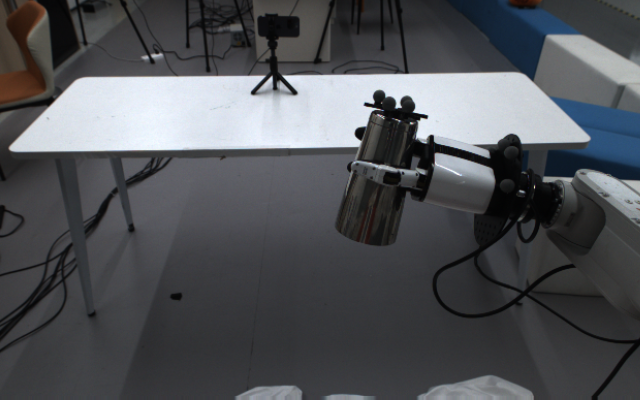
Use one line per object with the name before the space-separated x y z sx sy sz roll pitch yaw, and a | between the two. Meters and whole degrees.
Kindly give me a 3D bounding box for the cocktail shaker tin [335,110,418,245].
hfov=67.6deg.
cocktail shaker tin | 0.084 -0.034 0.675 0.093 0.170 0.093 11 19 -4
